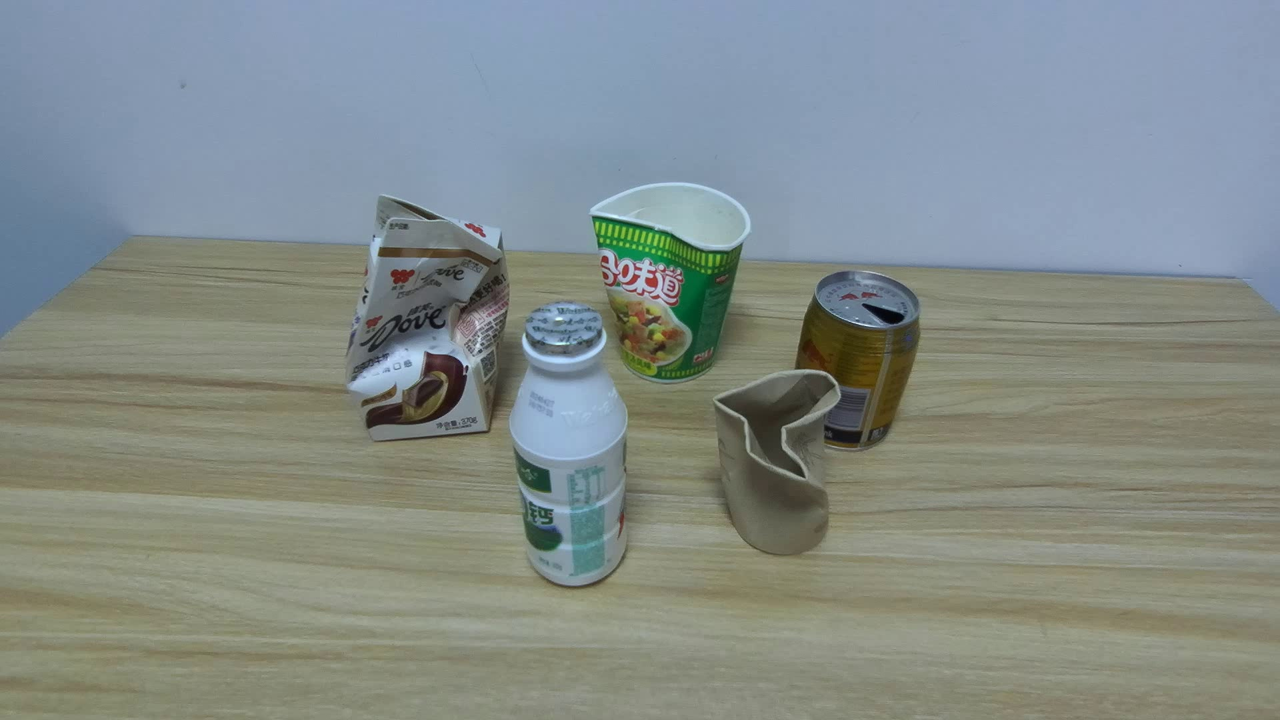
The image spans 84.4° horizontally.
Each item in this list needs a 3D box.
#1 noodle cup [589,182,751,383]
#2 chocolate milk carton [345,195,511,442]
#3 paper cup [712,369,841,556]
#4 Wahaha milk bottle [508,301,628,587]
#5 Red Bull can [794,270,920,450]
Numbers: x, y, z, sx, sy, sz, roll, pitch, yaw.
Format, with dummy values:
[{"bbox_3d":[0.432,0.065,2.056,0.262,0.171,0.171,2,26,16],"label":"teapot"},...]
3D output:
[{"bbox_3d":[0.025,-0.048,0.470,0.087,0.109,0.093,-24,45,-28],"label":"noodle cup"},{"bbox_3d":[-0.123,-0.027,0.418,0.089,0.155,0.076,4,41,-18],"label":"chocolate milk carton"},{"bbox_3d":[0.077,0.057,0.361,0.067,0.083,0.058,-18,45,-20],"label":"paper cup"},{"bbox_3d":[-0.032,0.044,0.330,0.053,0.147,0.053,0,34,0],"label":"Wahaha milk bottle"},{"bbox_3d":[0.128,0.000,0.427,0.068,0.093,0.068,1,39,0],"label":"Red Bull can"}]
